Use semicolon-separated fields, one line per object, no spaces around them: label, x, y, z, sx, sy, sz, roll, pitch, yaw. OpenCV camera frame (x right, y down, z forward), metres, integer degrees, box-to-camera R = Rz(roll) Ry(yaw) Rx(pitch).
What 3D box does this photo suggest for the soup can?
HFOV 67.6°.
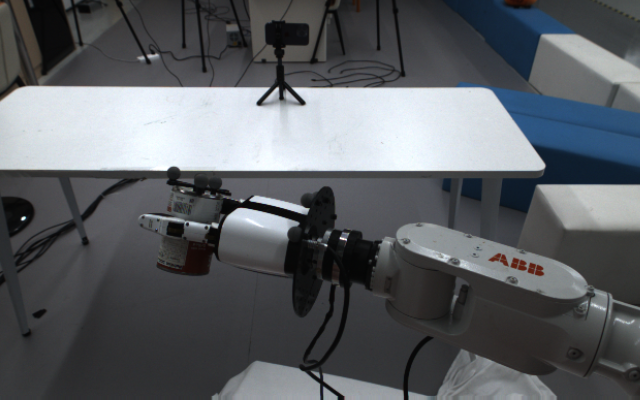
soup can;-0.163;0.040;0.614;0.067;0.101;0.067;11;2;0
